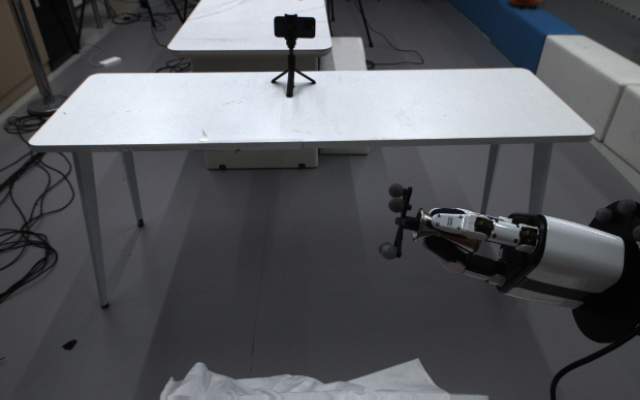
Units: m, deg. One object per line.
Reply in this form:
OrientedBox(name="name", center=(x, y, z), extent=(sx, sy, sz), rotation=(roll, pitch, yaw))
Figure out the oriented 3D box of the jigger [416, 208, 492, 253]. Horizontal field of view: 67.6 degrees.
OrientedBox(name="jigger", center=(0.150, 0.032, 0.547), extent=(0.071, 0.043, 0.043), rotation=(11, 35, 2))
